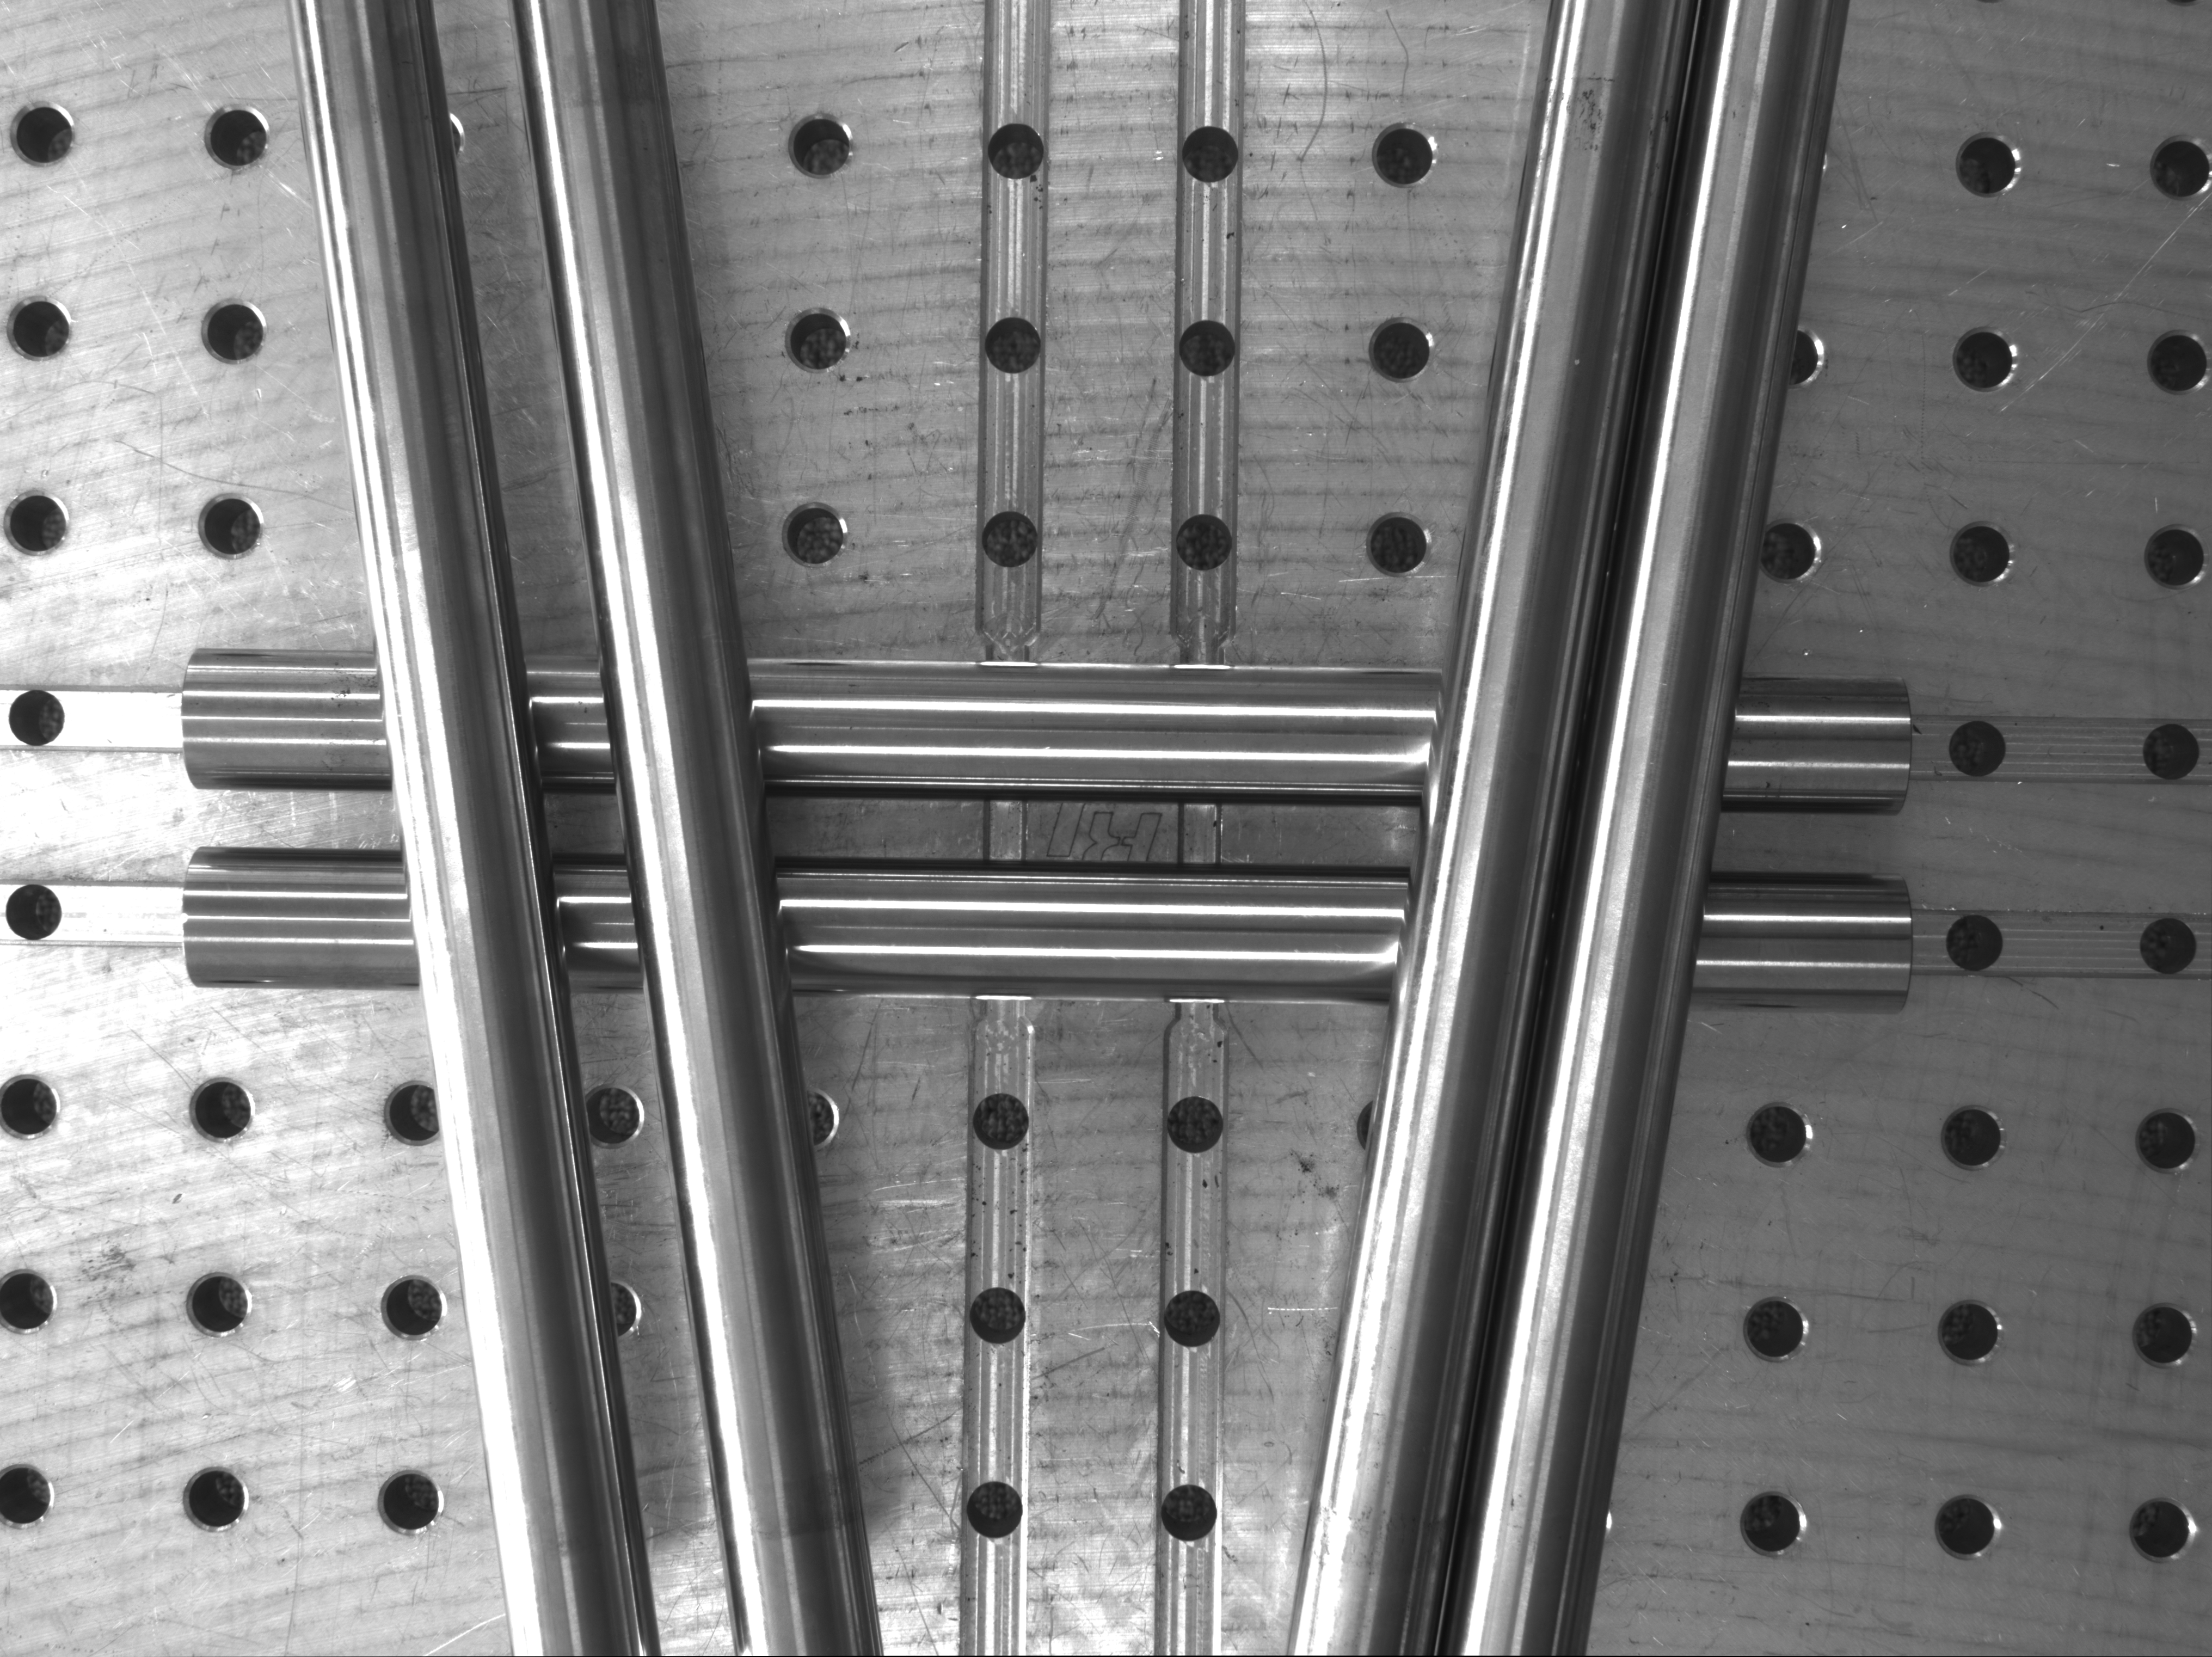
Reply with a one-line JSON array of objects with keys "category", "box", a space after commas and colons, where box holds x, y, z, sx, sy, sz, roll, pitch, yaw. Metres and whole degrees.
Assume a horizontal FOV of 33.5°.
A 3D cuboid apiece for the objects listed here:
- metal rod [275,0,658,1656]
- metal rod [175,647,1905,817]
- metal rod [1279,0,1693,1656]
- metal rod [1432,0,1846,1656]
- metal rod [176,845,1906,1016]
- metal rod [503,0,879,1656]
[{"category": "metal rod", "box": [-0.109, -0.003, 0.624, 0.025, 0.025, 0.300, -8, 90, 0]}, {"category": "metal rod", "box": [-0.011, -0.017, 0.649, 0.300, 0.025, 0.025, 1, 90, 0]}, {"category": "metal rod", "box": [0.065, 0.000, 0.624, 0.025, 0.025, 0.300, 9, 90, 0]}, {"category": "metal rod", "box": [0.091, 0.000, 0.624, 0.025, 0.025, 0.300, 9, 90, 0]}, {"category": "metal rod", "box": [-0.011, 0.018, 0.649, 0.300, 0.025, 0.025, 1, 90, 0]}, {"category": "metal rod", "box": [-0.071, -0.006, 0.624, 0.025, 0.025, 0.300, -8, 90, 0]}]
